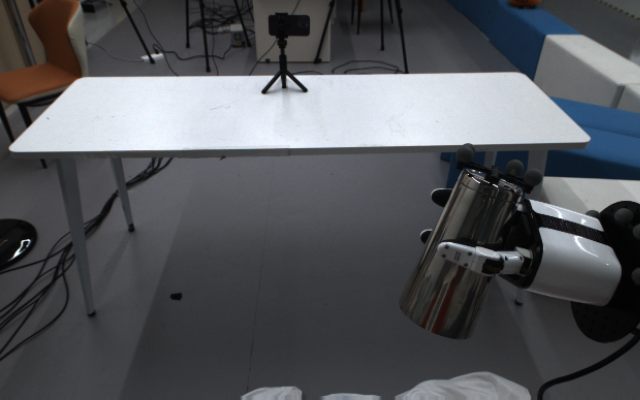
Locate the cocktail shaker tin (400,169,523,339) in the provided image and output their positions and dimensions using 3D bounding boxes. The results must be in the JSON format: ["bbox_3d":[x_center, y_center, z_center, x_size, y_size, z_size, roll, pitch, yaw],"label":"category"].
[{"bbox_3d":[0.161,0.055,0.541,0.093,0.170,0.093,15,17,-5],"label":"cocktail shaker tin"}]
